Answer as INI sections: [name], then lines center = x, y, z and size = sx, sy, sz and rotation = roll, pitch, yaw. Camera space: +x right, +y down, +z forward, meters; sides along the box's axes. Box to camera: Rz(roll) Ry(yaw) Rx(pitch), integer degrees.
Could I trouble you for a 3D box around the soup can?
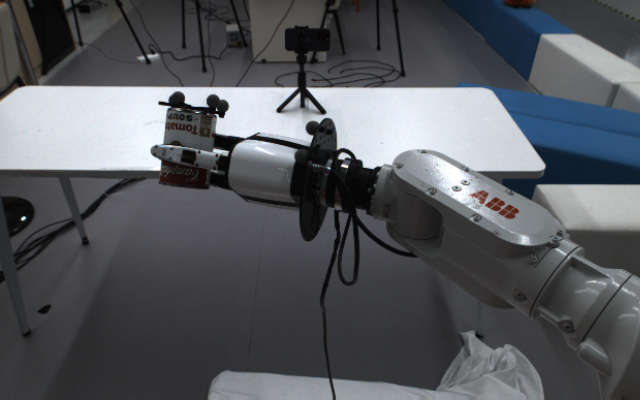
[soup can]
center = -0.179, -0.067, 0.659
size = 0.067, 0.101, 0.067
rotation = 7, 3, 0
